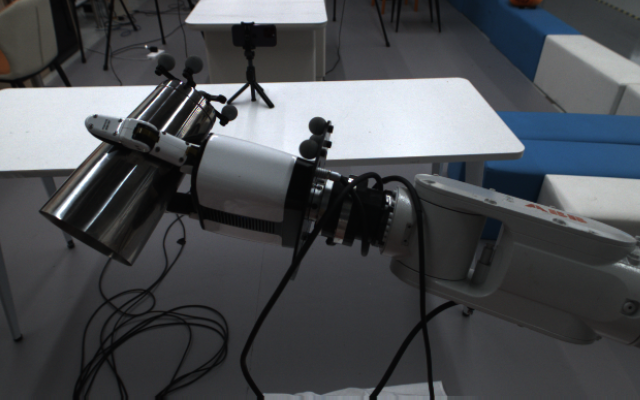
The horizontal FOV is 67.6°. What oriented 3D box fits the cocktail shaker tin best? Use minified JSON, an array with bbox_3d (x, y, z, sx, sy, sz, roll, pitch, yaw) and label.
[{"bbox_3d":[-0.170,-0.031,0.466,0.093,0.093,0.170,17,66,20],"label":"cocktail shaker tin"}]
